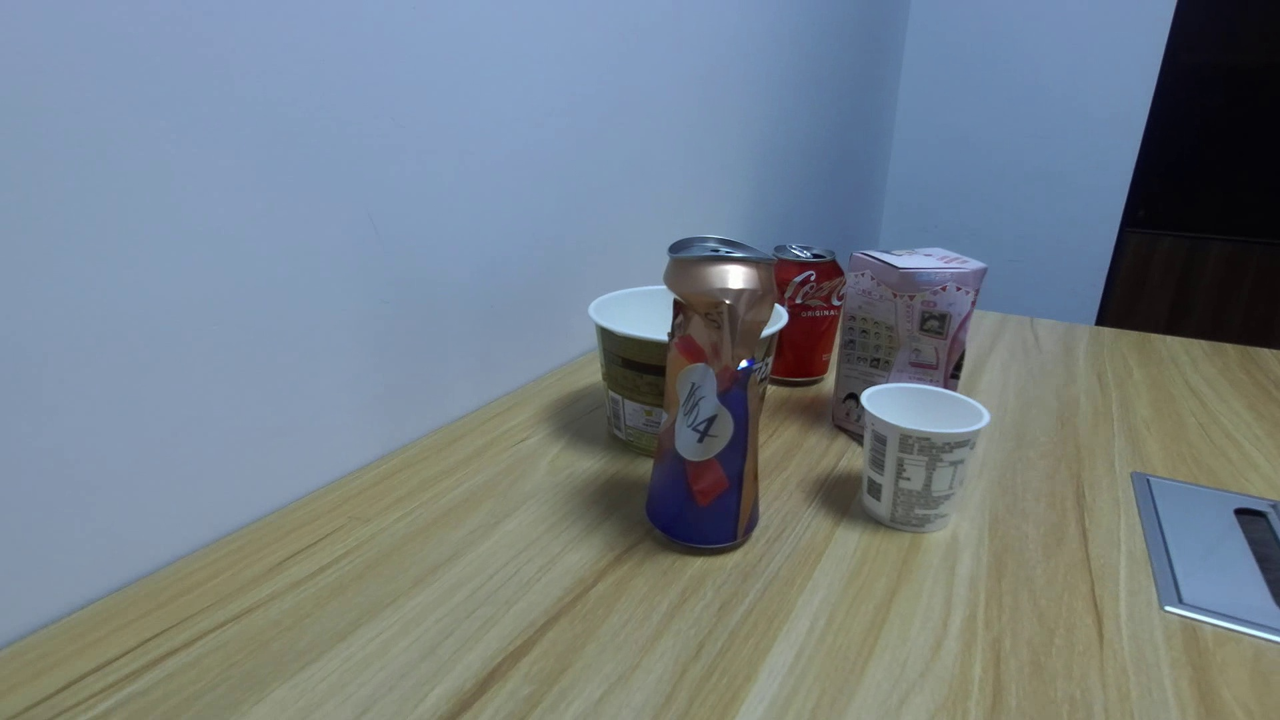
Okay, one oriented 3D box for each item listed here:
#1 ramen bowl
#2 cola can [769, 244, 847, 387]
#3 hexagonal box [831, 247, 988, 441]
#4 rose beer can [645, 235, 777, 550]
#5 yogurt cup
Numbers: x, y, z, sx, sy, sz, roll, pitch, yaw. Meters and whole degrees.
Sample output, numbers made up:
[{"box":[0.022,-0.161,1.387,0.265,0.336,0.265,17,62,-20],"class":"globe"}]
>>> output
[{"box":[0.033,0.007,0.510,0.140,0.095,0.140,1,18,0],"class":"ramen bowl"},{"box":[0.137,-0.040,0.618,0.067,0.117,0.065,-12,25,-33],"class":"cola can"},{"box":[0.191,-0.008,0.508,0.093,0.134,0.088,4,19,-1],"class":"hexagonal box"},{"box":[0.037,0.020,0.380,0.073,0.162,0.068,18,25,35],"class":"rose beer can"},{"box":[0.161,0.058,0.416,0.072,0.068,0.072,0,21,0],"class":"yogurt cup"}]
